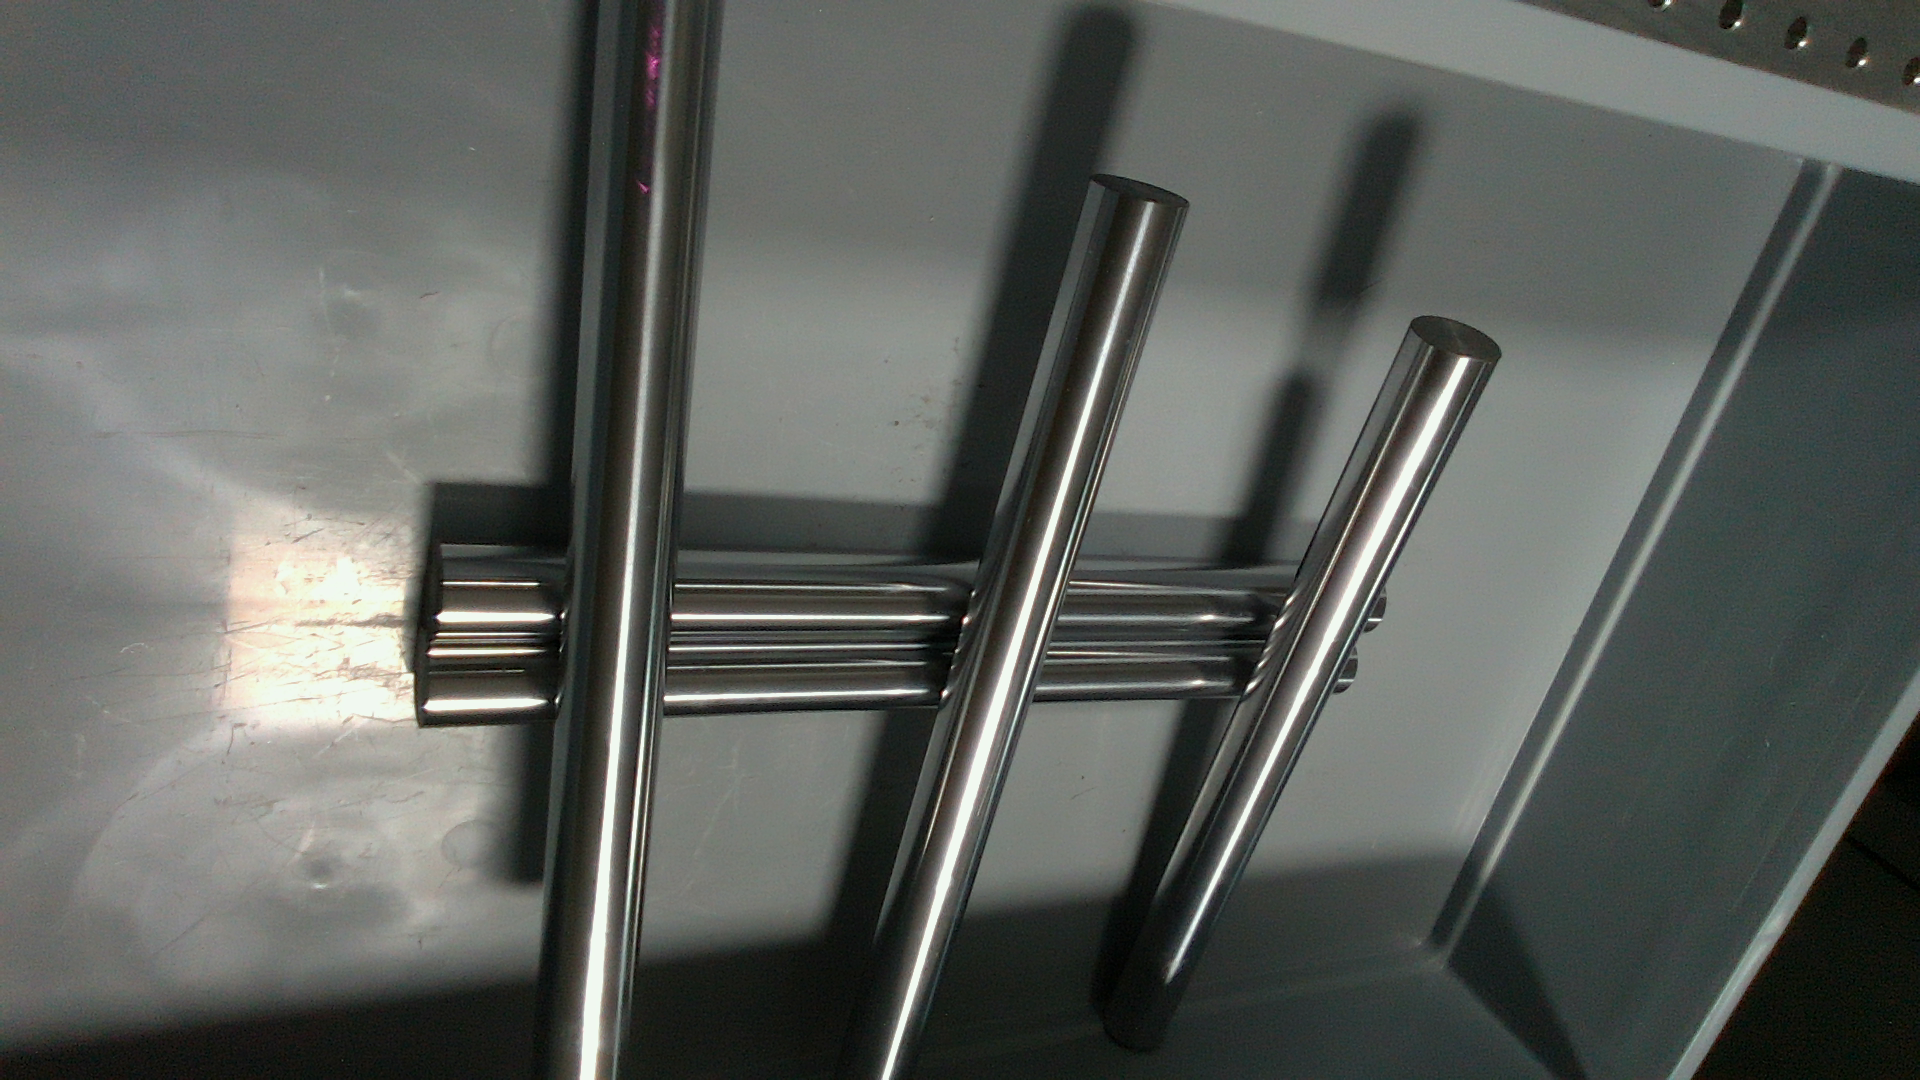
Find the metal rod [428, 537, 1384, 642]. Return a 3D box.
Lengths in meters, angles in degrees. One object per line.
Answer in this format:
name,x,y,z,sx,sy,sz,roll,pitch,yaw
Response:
metal rod,0.006,0.016,0.401,0.301,0.025,0.025,2,118,-29

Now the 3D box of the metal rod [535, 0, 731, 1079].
metal rod,-0.078,0.009,0.320,0.025,0.025,0.300,-1,111,-28

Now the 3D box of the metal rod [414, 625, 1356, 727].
metal rod,-0.001,0.037,0.411,0.301,0.025,0.025,2,118,-29

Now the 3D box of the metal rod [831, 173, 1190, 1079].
metal rod,0.006,0.048,0.389,0.025,0.025,0.300,1,118,-29

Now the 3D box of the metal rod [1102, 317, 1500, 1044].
metal rod,0.100,0.066,0.454,0.025,0.025,0.300,-4,129,-26
